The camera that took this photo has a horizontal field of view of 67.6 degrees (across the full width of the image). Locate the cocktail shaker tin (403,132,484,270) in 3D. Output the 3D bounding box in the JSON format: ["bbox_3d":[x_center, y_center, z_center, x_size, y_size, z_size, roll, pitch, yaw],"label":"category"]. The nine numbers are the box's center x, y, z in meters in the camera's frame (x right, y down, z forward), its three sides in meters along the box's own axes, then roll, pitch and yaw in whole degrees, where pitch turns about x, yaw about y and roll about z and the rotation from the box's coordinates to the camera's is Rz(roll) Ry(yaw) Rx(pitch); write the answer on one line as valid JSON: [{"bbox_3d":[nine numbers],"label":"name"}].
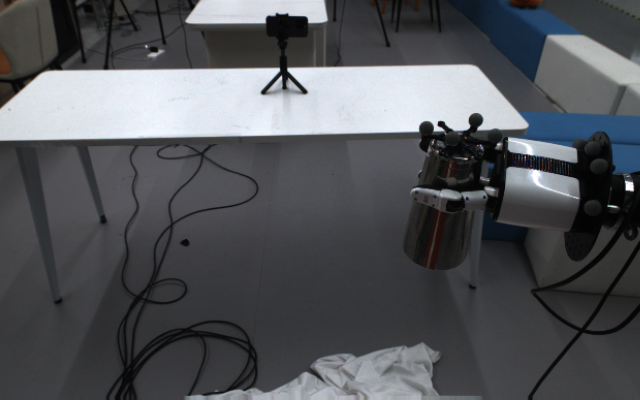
[{"bbox_3d":[0.170,-0.003,0.644,0.093,0.170,0.093,1,39,-1],"label":"cocktail shaker tin"}]
